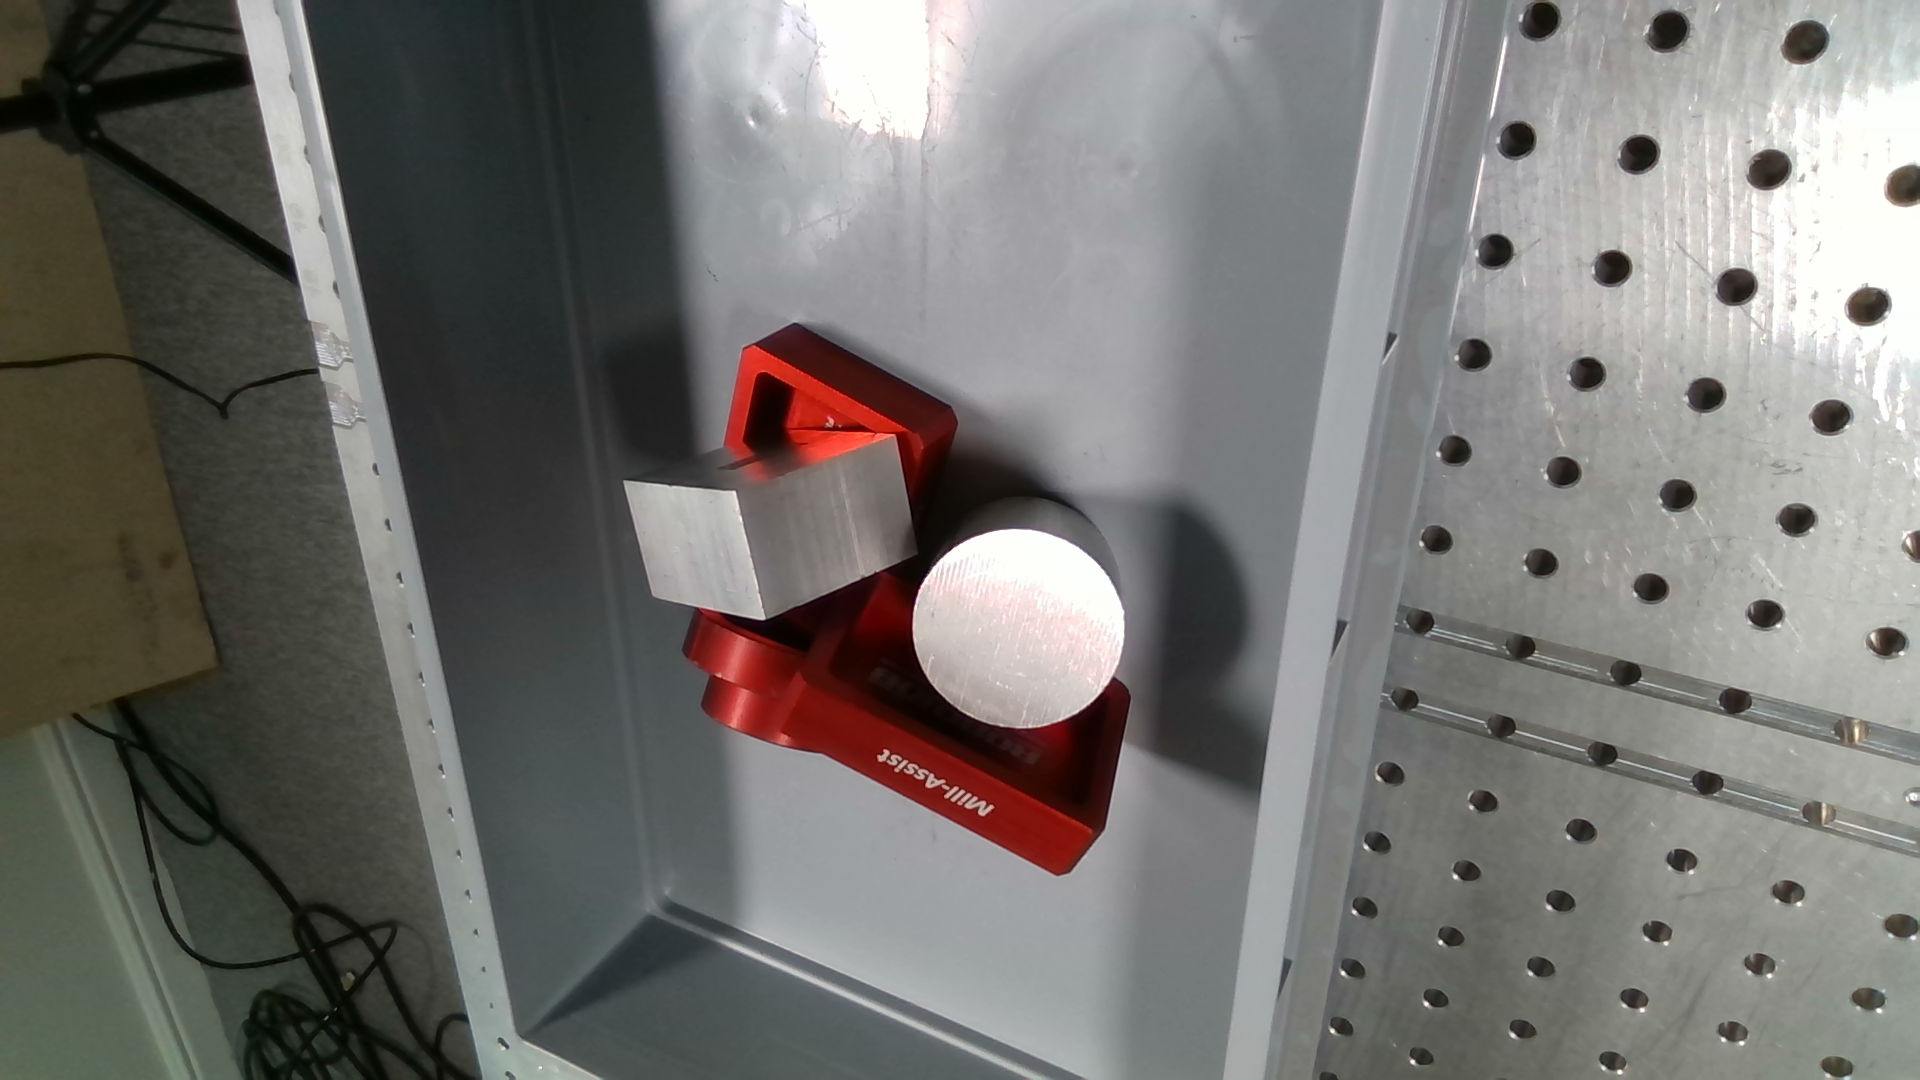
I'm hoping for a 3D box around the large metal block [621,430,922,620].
[{"bbox_3d":[-0.076,-0.010,0.554,0.080,0.080,0.050,7,113,47],"label":"large metal block"}]

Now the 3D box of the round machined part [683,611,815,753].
[{"bbox_3d":[-0.076,0.063,0.608,0.098,0.098,0.042,19,93,22],"label":"round machined part"}]

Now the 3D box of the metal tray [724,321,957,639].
[{"bbox_3d":[-0.061,-0.018,0.602,0.090,0.030,0.130,29,127,15],"label":"metal tray"}]

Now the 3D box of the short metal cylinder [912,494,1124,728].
[{"bbox_3d":[0.024,0.027,0.543,0.080,0.050,0.080,2,107,5],"label":"short metal cylinder"}]

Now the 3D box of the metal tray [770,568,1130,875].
[{"bbox_3d":[0.000,0.067,0.554,0.130,0.090,0.030,28,125,-3],"label":"metal tray"}]
